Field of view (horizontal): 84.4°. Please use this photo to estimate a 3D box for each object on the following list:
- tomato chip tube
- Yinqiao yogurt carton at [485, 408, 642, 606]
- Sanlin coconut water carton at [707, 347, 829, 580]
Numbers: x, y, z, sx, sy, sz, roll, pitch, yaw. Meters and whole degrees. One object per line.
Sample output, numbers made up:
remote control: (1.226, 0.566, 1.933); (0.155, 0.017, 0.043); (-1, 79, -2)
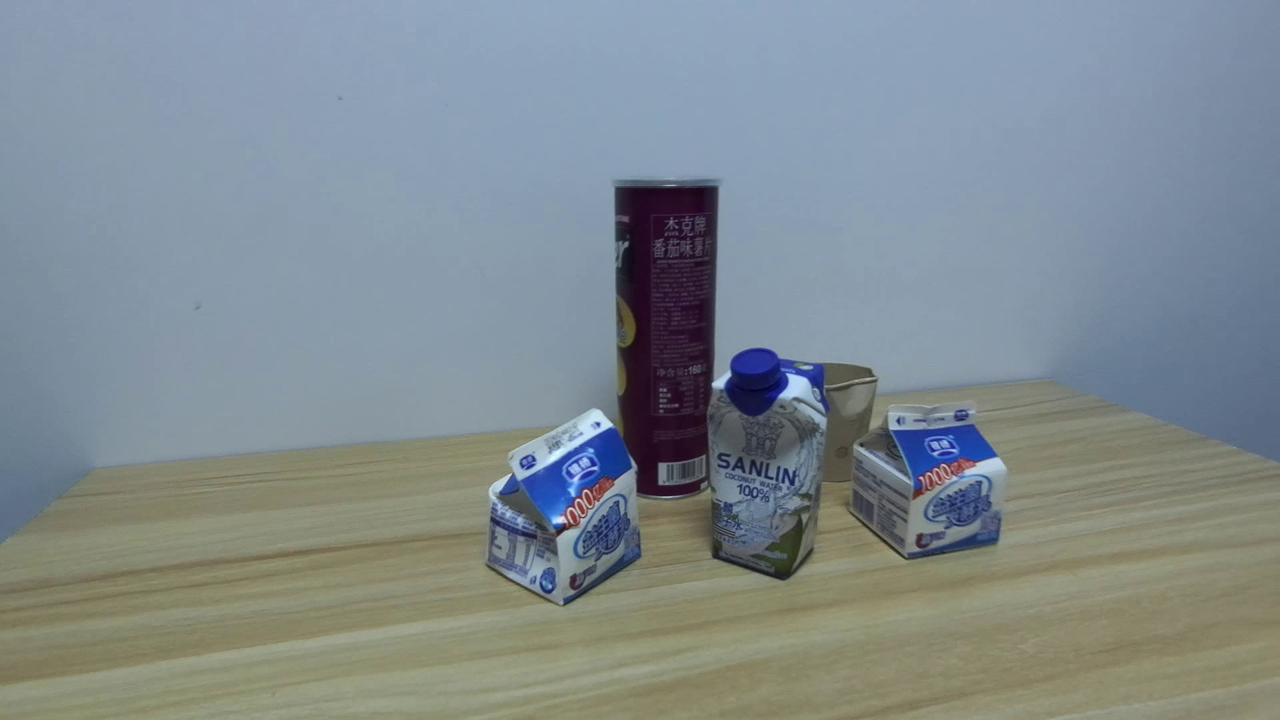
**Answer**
tomato chip tube: (0.021, -0.016, 0.539); (0.078, 0.234, 0.078); (0, 15, 0)
Yinqiao yogurt carton: (-0.046, 0.083, 0.443); (0.077, 0.093, 0.083); (13, 22, 40)
Sanlin coconut water carton: (0.078, 0.060, 0.439); (0.077, 0.142, 0.058); (9, 23, 32)
